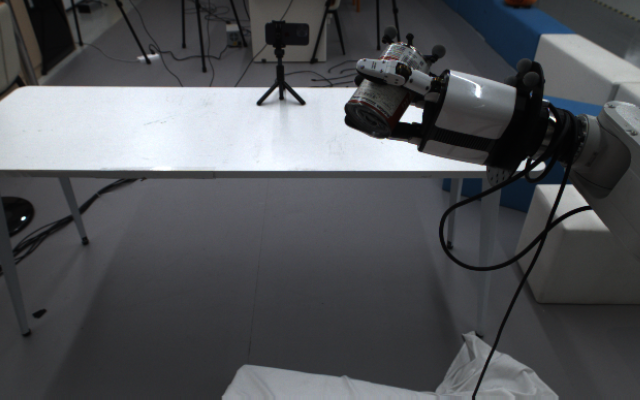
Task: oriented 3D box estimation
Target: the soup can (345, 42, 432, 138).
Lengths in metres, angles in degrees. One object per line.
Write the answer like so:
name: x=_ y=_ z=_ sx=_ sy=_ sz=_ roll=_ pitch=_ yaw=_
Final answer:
soup can: x=0.085 y=-0.141 z=0.614 sx=0.067 sy=0.067 sz=0.101 roll=27 pitch=76 yaw=31
